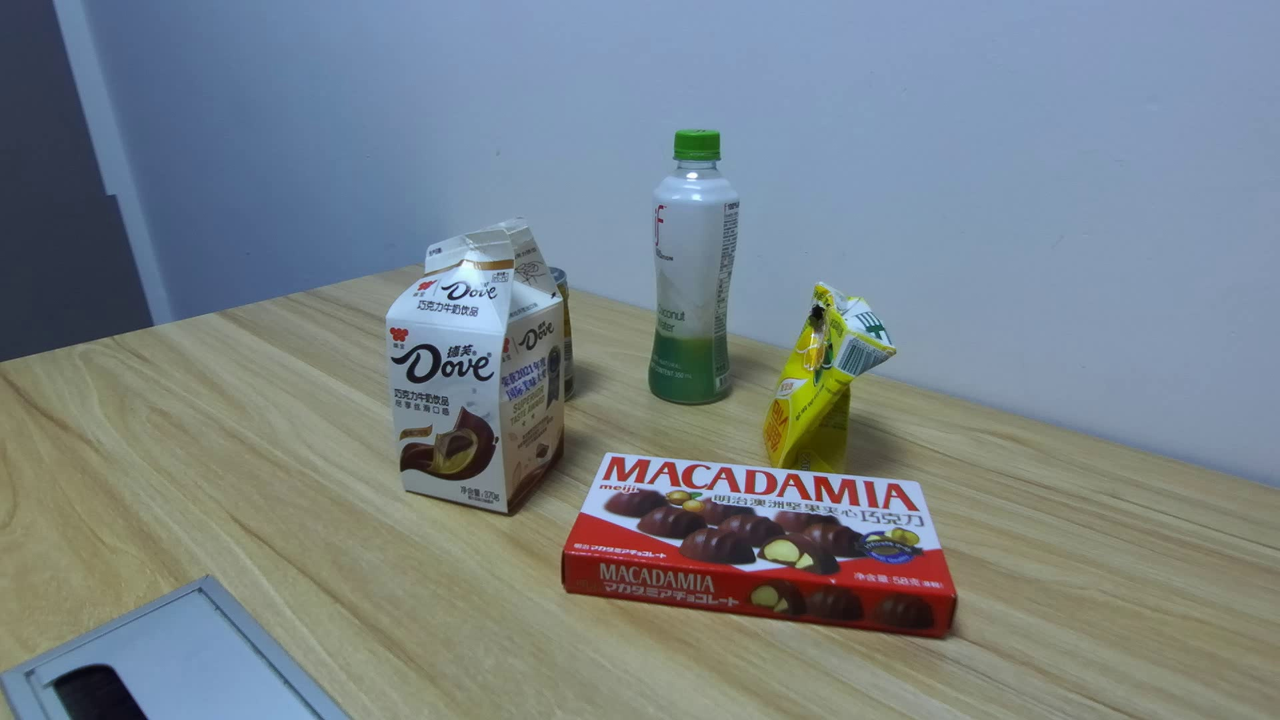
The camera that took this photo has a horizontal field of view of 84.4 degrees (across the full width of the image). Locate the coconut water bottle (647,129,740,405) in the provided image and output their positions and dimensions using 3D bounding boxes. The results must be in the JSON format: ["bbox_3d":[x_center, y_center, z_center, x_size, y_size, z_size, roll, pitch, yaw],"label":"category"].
[{"bbox_3d":[0.039,-0.065,0.507,0.063,0.188,0.063,0,21,0],"label":"coconut water bottle"}]

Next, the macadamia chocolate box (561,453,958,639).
[{"bbox_3d":[0.058,0.089,0.361,0.177,0.027,0.095,5,24,9],"label":"macadamia chocolate box"}]

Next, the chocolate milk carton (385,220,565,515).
[{"bbox_3d":[-0.091,-0.002,0.405,0.076,0.155,0.074,9,24,19],"label":"chocolate milk carton"}]

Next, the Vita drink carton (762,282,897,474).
[{"bbox_3d":[0.114,0.016,0.431,0.042,0.108,0.087,13,25,-5],"label":"Vita drink carton"}]
